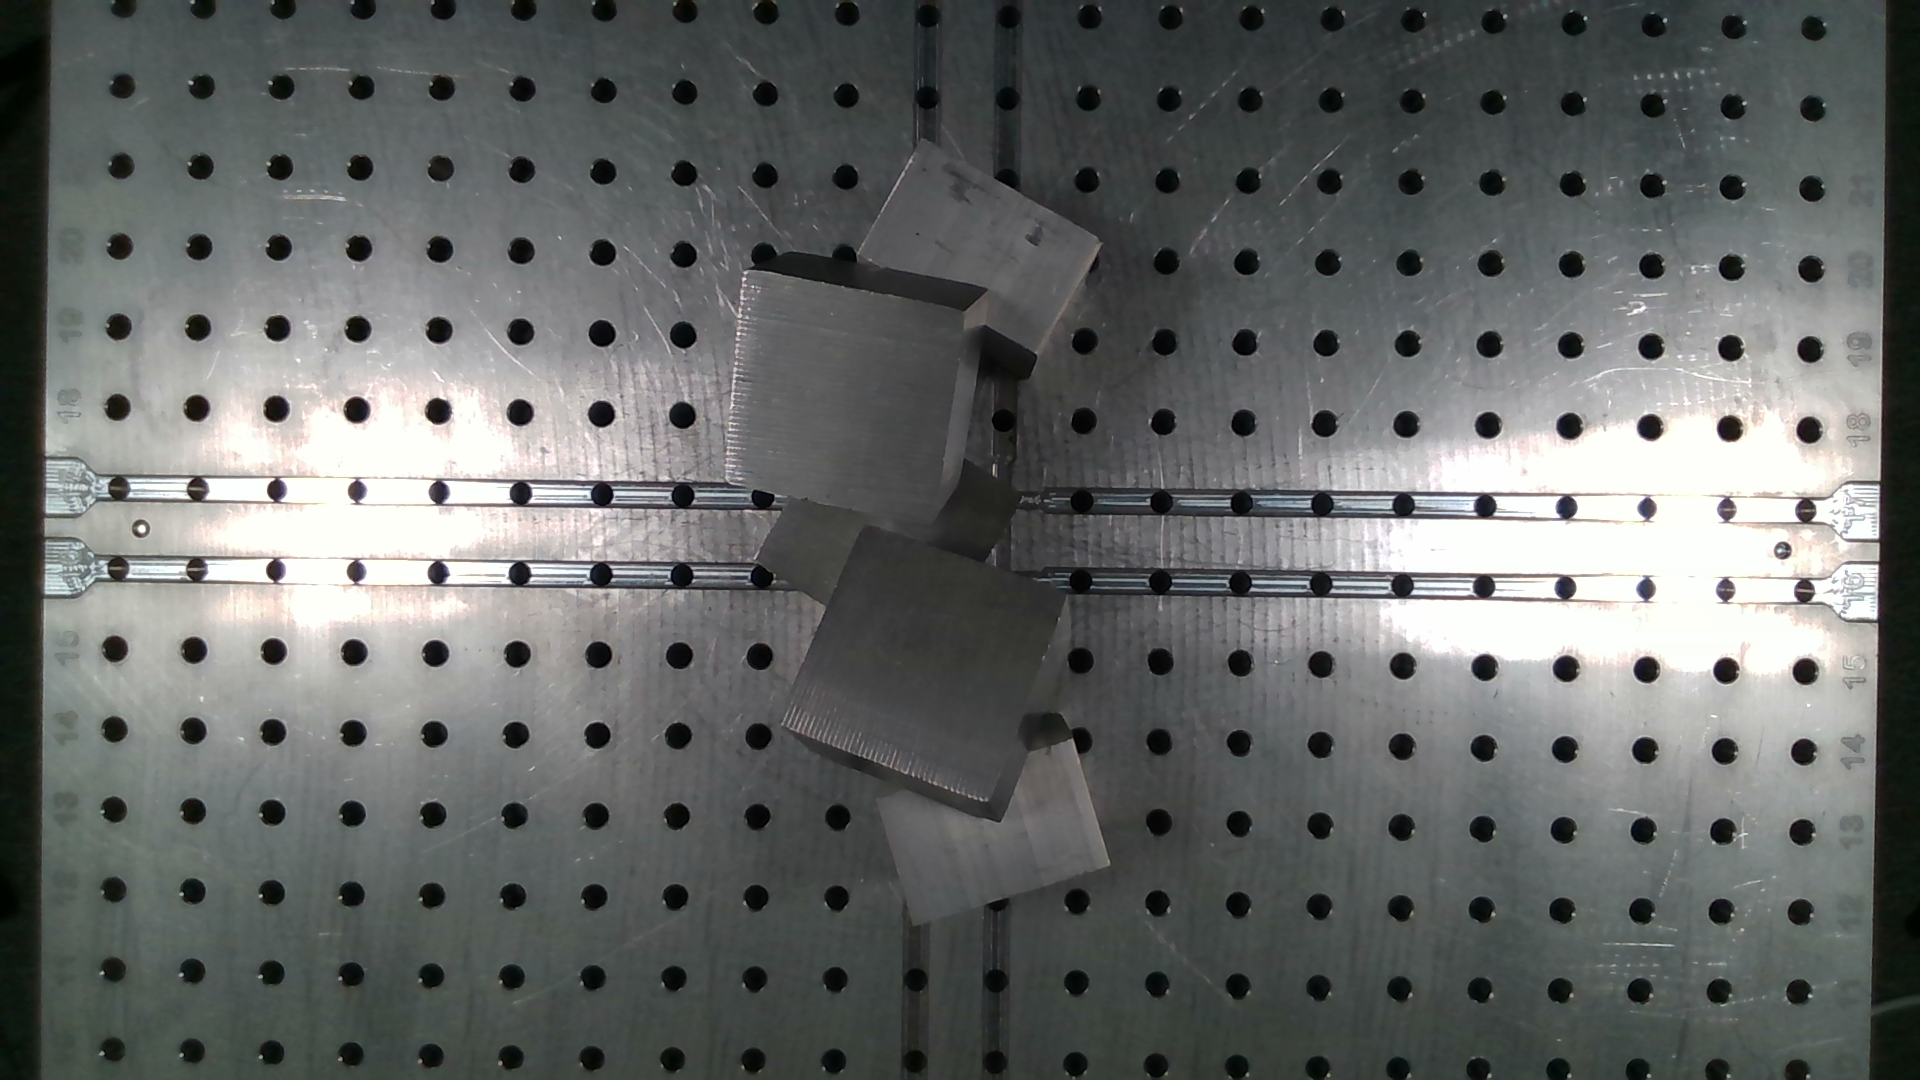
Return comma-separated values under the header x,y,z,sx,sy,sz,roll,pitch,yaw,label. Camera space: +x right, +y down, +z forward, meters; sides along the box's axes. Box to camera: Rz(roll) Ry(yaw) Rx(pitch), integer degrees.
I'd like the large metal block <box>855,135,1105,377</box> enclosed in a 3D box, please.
x,y,z,sx,sy,sz,roll,pitch,yaw,label
0.008,-0.112,0.560,0.080,0.080,0.050,30,90,0,large metal block

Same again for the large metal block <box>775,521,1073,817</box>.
x,y,z,sx,sy,sz,roll,pitch,yaw,label
-0.010,0.049,0.508,0.080,0.050,0.080,19,75,12,large metal block

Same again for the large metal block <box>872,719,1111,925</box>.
x,y,z,sx,sy,sz,roll,pitch,yaw,label
0.012,0.111,0.563,0.080,0.080,0.050,-16,90,0,large metal block

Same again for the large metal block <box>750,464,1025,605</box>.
x,y,z,sx,sy,sz,roll,pitch,yaw,label
-0.029,-0.004,0.576,0.080,0.050,0.080,32,90,0,large metal block

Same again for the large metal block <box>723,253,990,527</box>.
x,y,z,sx,sy,sz,roll,pitch,yaw,label
-0.038,-0.058,0.511,0.080,0.050,0.080,12,111,7,large metal block
